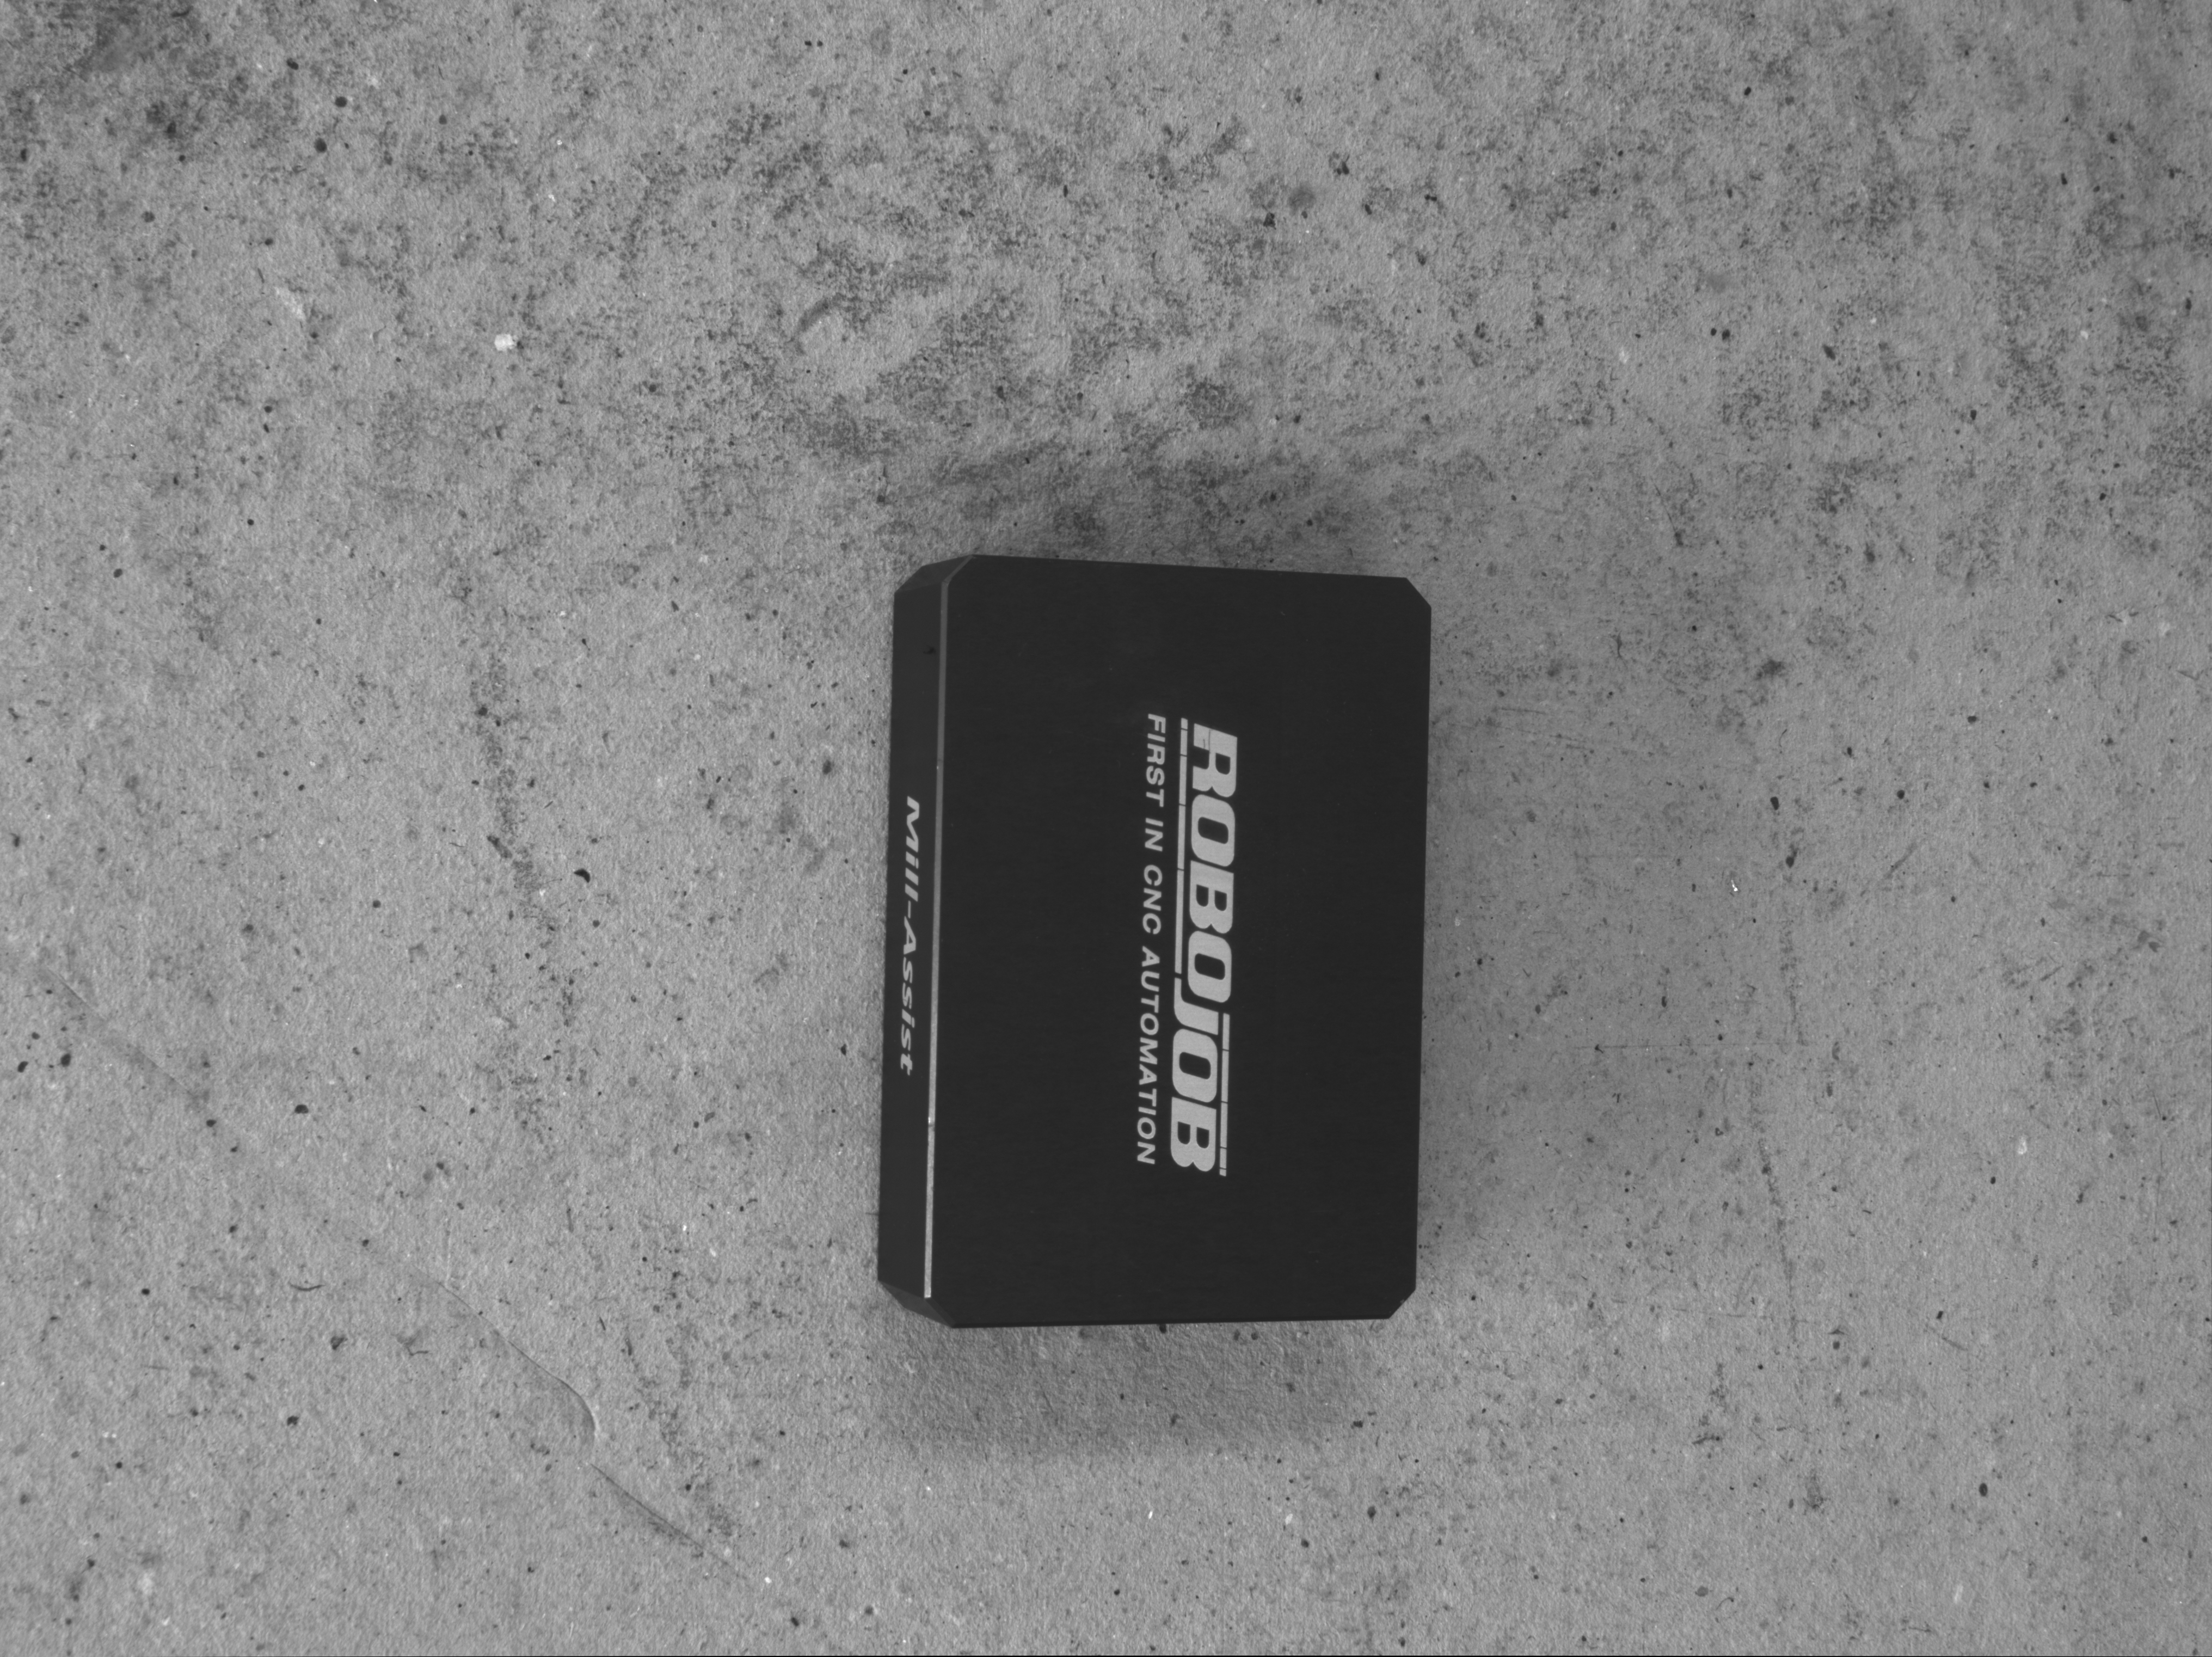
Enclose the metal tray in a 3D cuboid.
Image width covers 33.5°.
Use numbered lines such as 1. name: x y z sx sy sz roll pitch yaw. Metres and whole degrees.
1. metal tray: 0.009 0.020 0.644 0.090 0.030 0.130 1 90 -20
